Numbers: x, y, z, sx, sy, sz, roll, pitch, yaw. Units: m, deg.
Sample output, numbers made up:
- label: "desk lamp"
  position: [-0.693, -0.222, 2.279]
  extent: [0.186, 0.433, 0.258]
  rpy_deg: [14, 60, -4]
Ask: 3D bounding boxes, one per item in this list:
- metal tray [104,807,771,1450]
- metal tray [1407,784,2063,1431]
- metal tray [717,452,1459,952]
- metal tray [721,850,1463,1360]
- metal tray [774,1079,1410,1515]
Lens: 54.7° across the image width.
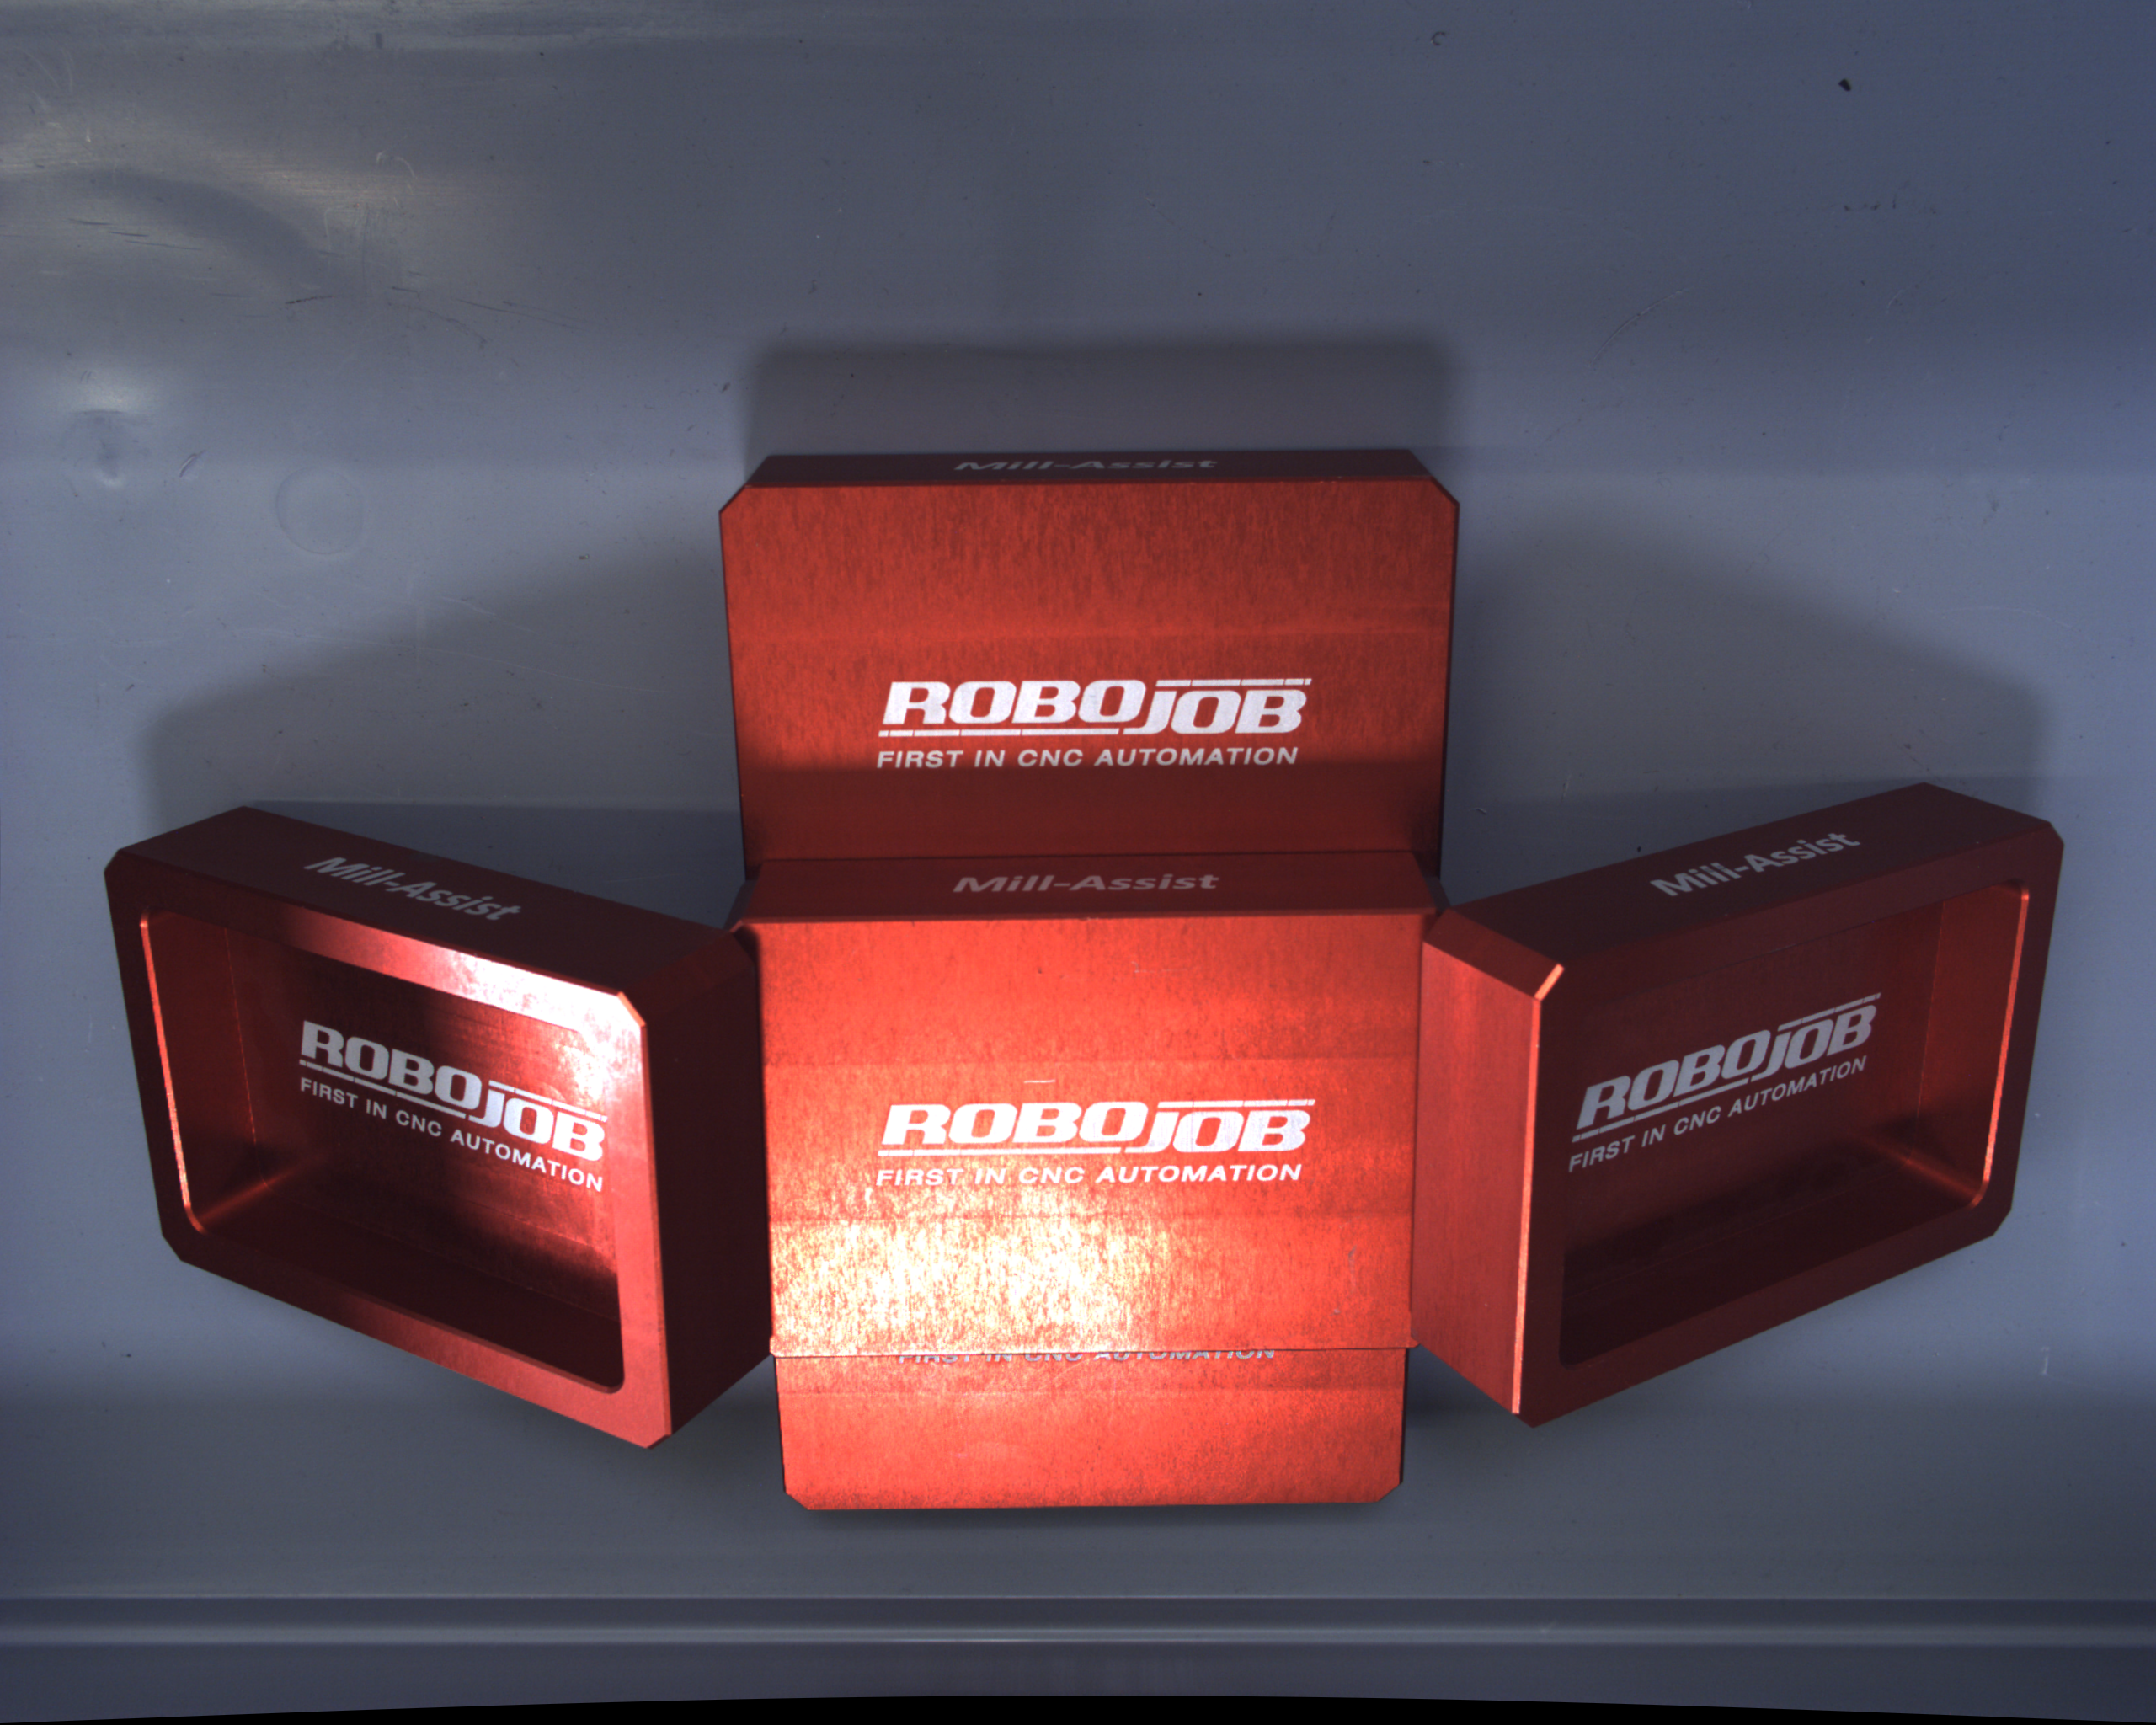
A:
- label: "metal tray"
  position: [-0.120, 0.046, 0.390]
  extent: [0.130, 0.030, 0.089]
  rpy_deg: [12, 114, 26]
- label: "metal tray"
  position: [0.123, 0.042, 0.390]
  extent: [0.131, 0.030, 0.089]
  rpy_deg: [-13, 113, -27]
- label: "metal tray"
  position: [0.002, -0.030, 0.395]
  extent: [0.131, 0.030, 0.089]
  rpy_deg: [-1, 110, -1]
- label: "metal tray"
  position: [0.003, 0.046, 0.392]
  extent: [0.131, 0.030, 0.089]
  rpy_deg: [-1, 110, 0]
- label: "metal tray"
  position: [0.003, 0.090, 0.439]
  extent: [0.131, 0.030, 0.089]
  rpy_deg: [-1, 110, -1]
